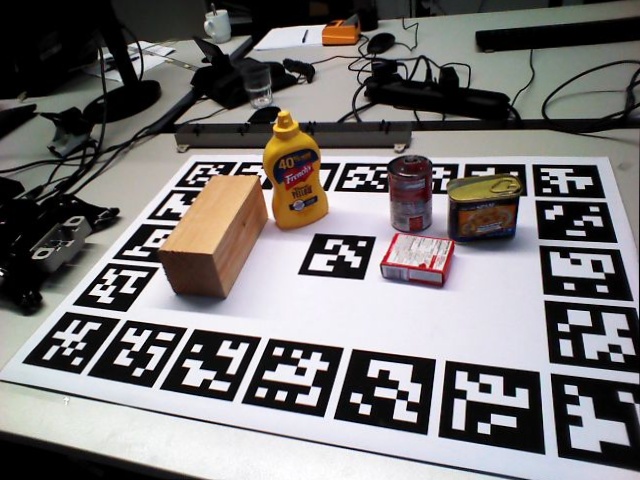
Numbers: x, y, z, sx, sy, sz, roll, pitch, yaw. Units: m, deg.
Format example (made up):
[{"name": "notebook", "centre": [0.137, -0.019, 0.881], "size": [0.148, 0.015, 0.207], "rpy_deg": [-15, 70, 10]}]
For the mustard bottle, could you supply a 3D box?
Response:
[{"name": "mustard bottle", "centre": [-0.020, -0.102, 0.828], "size": [0.096, 0.192, 0.058], "rpy_deg": [-12, 36, -4]}]

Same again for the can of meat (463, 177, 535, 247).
[{"name": "can of meat", "centre": [0.263, -0.040, 0.757], "size": [0.102, 0.084, 0.057], "rpy_deg": [-4, 38, 5]}]

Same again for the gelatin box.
[{"name": "gelatin box", "centre": [0.168, 0.032, 0.724], "size": [0.090, 0.030, 0.073], "rpy_deg": [8, 43, 27]}]

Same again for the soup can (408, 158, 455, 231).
[{"name": "soup can", "centre": [0.173, -0.073, 0.792], "size": [0.068, 0.102, 0.067], "rpy_deg": [-8, 38, 6]}]

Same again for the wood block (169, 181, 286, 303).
[{"name": "wood block", "centre": [-0.134, -0.006, 0.808], "size": [0.091, 0.090, 0.205], "rpy_deg": [5, 35, 17]}]
